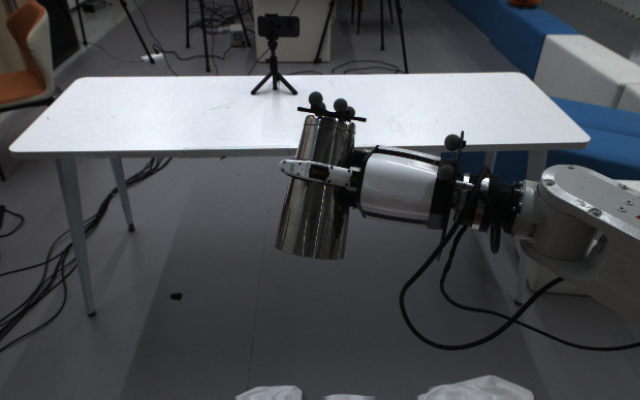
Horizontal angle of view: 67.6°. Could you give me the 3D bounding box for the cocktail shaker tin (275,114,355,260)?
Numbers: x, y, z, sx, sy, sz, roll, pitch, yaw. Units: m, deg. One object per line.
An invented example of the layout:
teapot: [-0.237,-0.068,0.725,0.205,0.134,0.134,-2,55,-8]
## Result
cocktail shaker tin: [0.001,-0.018,0.620,0.093,0.170,0.093,10,3,-1]
